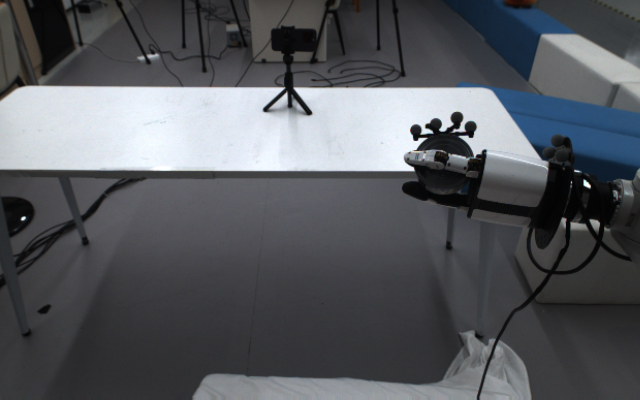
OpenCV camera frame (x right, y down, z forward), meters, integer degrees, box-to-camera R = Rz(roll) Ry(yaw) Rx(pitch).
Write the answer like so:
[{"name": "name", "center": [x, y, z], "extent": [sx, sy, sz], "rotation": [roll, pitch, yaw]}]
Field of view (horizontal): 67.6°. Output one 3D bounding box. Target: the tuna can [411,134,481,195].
[{"name": "tuna can", "center": [0.182, -0.053, 0.715], "extent": [0.085, 0.034, 0.085], "rotation": [-5, 72, 15]}]
